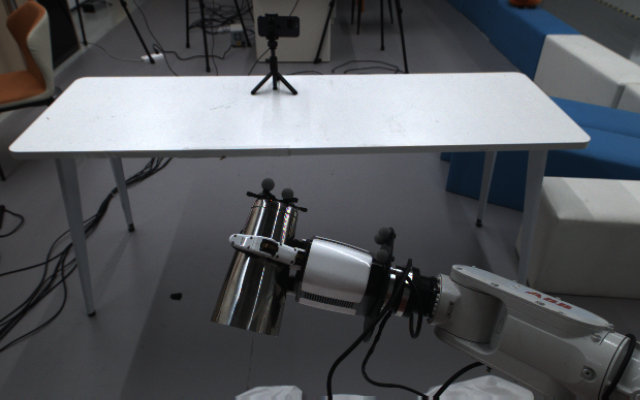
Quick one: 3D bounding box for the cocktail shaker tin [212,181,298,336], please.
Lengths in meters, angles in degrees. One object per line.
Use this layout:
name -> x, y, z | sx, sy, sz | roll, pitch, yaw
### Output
cocktail shaker tin -> -0.082, 0.091, 0.656 | 0.093, 0.093, 0.170 | 11, 74, 12
